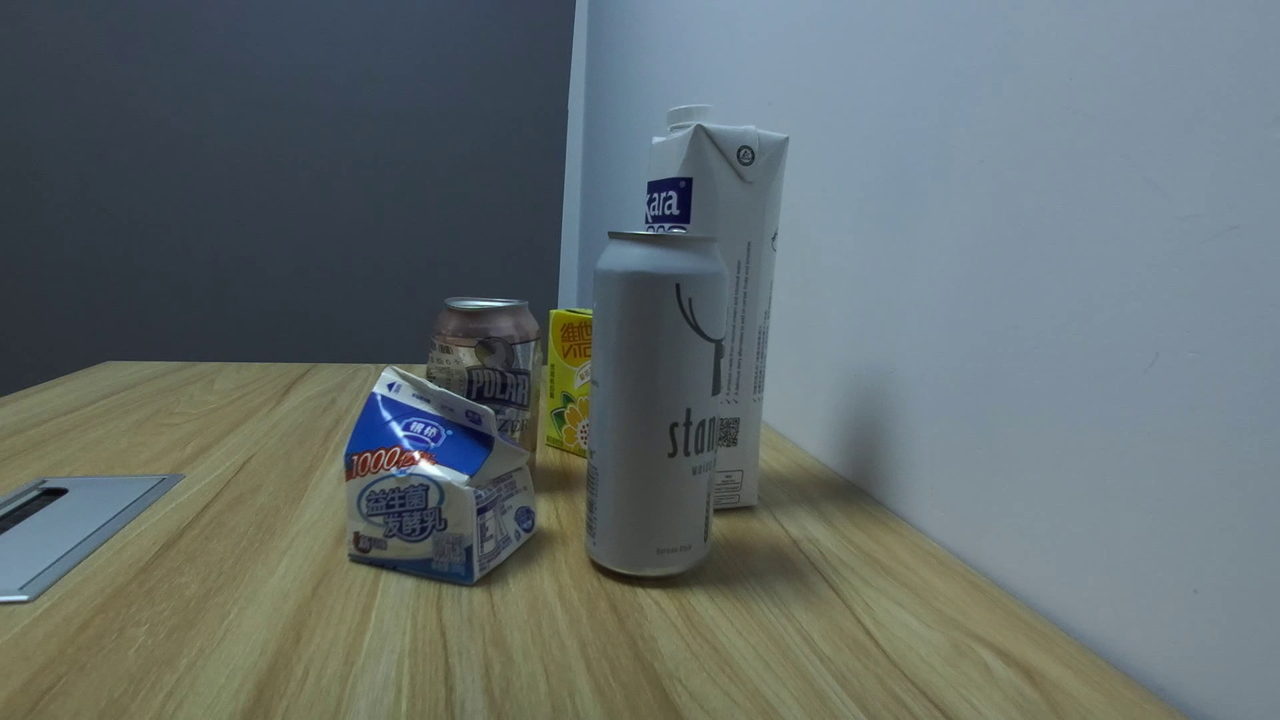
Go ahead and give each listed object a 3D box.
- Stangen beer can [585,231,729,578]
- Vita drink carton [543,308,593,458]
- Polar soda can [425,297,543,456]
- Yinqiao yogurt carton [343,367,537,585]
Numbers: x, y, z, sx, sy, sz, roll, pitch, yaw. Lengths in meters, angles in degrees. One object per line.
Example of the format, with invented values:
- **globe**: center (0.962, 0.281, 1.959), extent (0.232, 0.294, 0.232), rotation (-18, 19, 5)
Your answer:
- **Stangen beer can**: center (0.008, 0.021, 0.358), extent (0.067, 0.171, 0.067), rotation (3, 10, 0)
- **Vita drink carton**: center (-0.029, 0.018, 0.479), extent (0.066, 0.109, 0.044), rotation (0, -8, 37)
- **Polar soda can**: center (-0.101, 0.022, 0.473), extent (0.067, 0.121, 0.074), rotation (-4, 9, -37)
- **Yinqiao yogurt carton**: center (-0.104, 0.053, 0.368), extent (0.083, 0.093, 0.077), rotation (6, 9, 16)
